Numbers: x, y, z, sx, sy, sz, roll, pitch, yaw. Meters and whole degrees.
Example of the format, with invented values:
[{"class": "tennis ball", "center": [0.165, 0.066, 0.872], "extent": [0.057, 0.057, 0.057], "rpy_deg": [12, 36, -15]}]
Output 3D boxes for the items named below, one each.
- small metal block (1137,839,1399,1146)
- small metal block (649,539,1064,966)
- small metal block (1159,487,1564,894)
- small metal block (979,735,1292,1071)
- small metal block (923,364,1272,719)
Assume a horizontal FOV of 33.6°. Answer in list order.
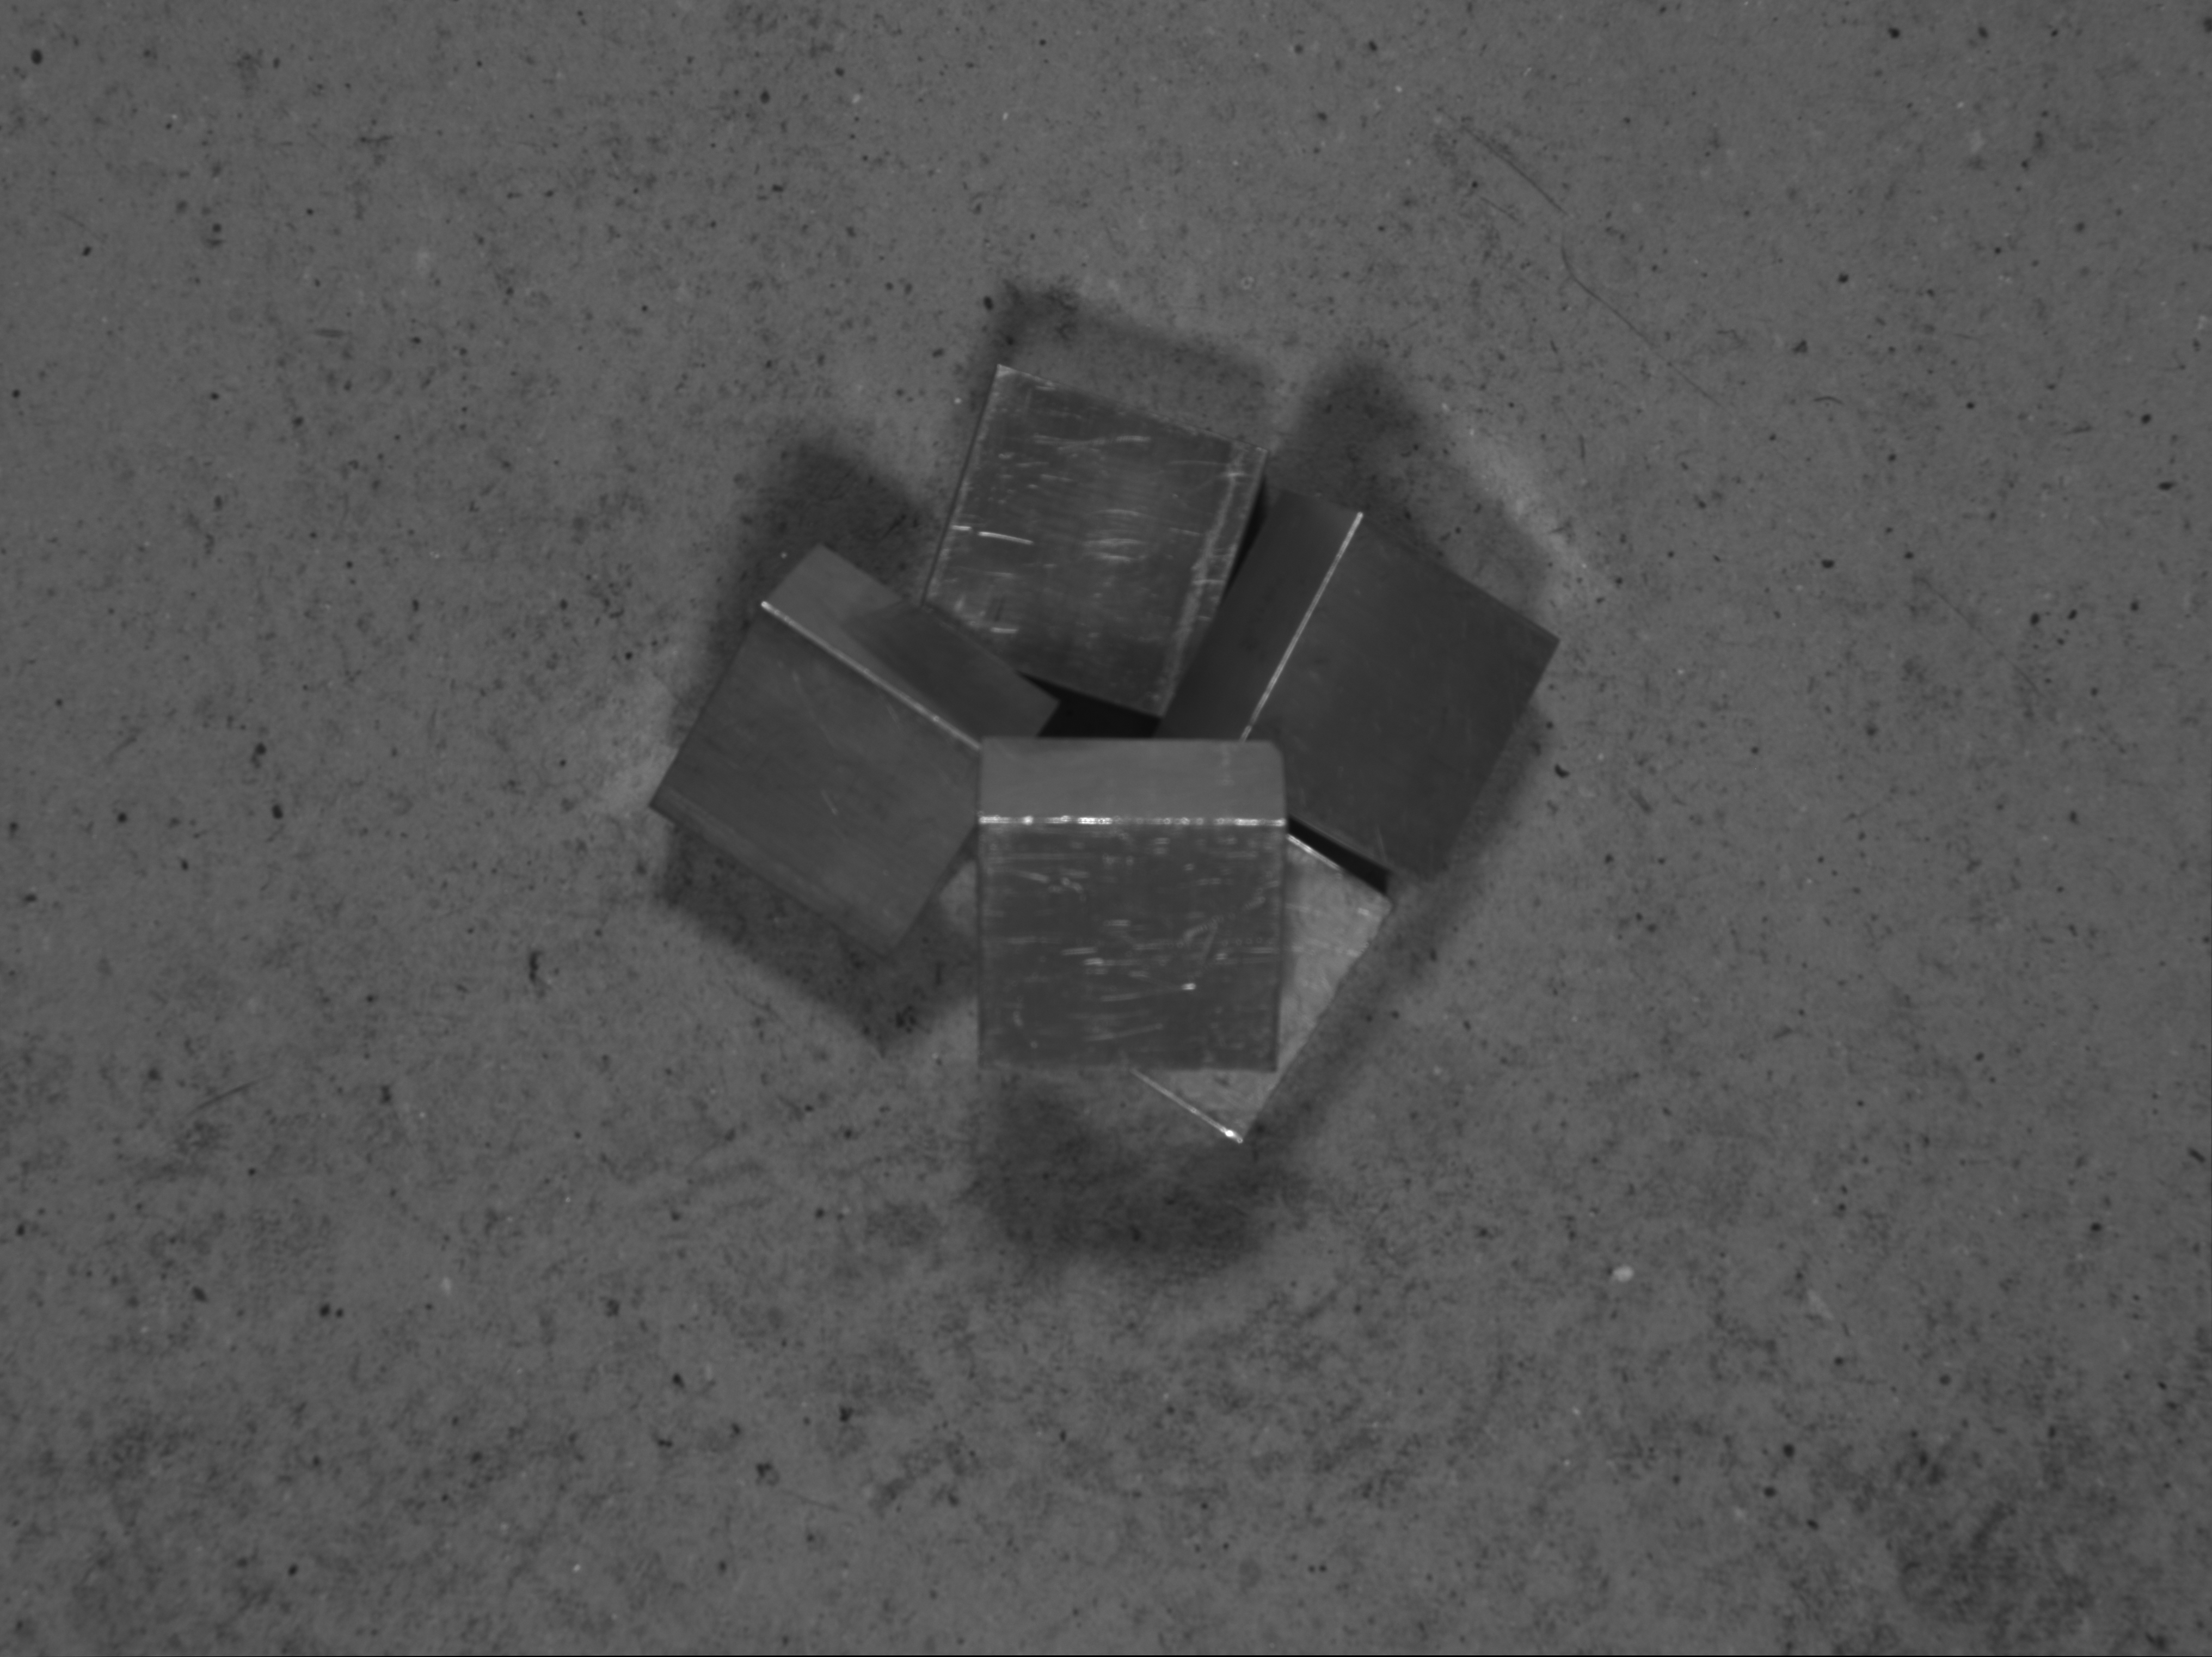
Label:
[{"class": "small metal block", "center": [0.016, 0.020, 0.646], "extent": [0.050, 0.025, 0.050], "rpy_deg": [33, 90, 0]}, {"class": "small metal block", "center": [-0.043, -0.013, 0.633], "extent": [0.050, 0.025, 0.050], "rpy_deg": [33, 126, -1]}, {"class": "small metal block", "center": [0.044, -0.024, 0.634], "extent": [0.050, 0.025, 0.050], "rpy_deg": [28, 90, -34]}, {"class": "small metal block", "center": [0.004, 0.013, 0.609], "extent": [0.050, 0.025, 0.050], "rpy_deg": [0, 122, 0]}, {"class": "small metal block", "center": [-0.003, -0.049, 0.646], "extent": [0.050, 0.025, 0.050], "rpy_deg": [17, 90, 0]}]
